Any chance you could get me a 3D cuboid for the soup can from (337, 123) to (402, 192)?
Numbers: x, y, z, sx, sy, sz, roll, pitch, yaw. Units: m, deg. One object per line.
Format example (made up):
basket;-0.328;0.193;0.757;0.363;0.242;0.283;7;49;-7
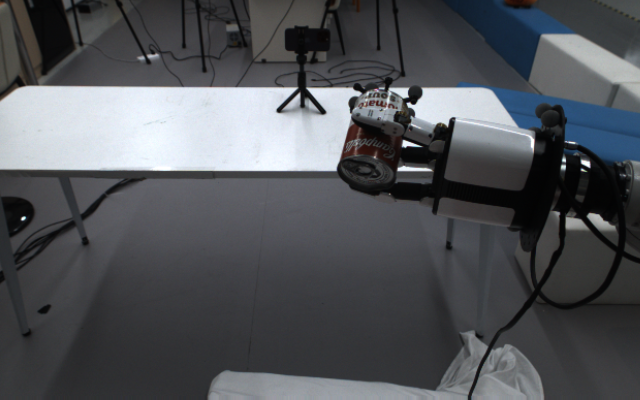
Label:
soup can;0.065;-0.073;0.568;0.067;0.067;0.101;9;60;10
